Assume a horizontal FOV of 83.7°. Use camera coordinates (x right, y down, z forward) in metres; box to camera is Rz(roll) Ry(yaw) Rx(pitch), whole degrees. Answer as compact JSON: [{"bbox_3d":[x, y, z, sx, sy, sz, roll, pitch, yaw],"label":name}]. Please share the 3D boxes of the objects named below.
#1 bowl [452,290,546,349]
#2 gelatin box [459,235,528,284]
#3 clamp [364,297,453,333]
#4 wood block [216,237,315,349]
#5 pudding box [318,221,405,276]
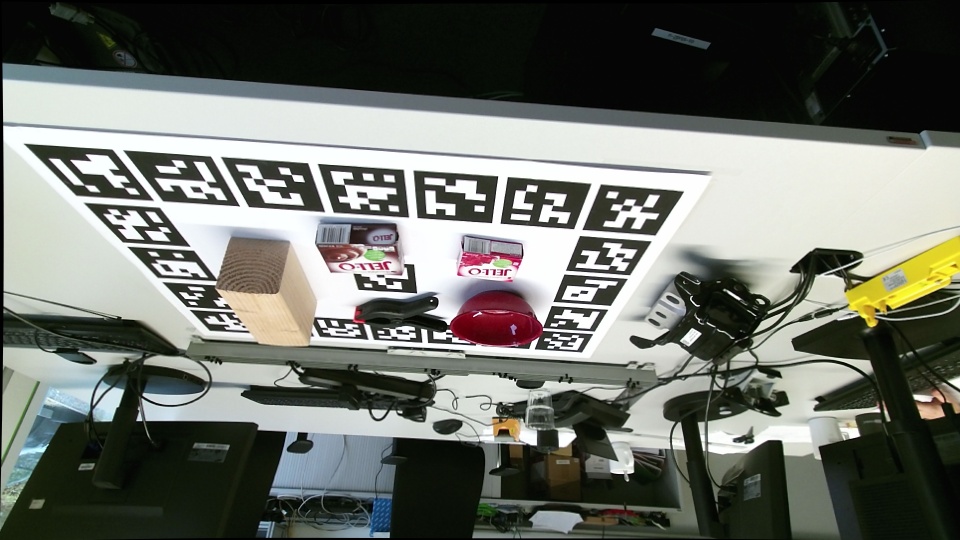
[{"bbox_3d":[0.034,0.082,0.937,0.162,0.055,0.162,2,145,2],"label":"bowl"},{"bbox_3d":[0.019,-0.014,0.793,0.090,0.030,0.073,8,146,-8],"label":"gelatin box"},{"bbox_3d":[-0.130,0.085,0.973,0.166,0.036,0.122,-1,148,9],"label":"clamp"},{"bbox_3d":[-0.334,0.044,0.856,0.090,0.090,0.206,6,148,-3],"label":"wood block"},{"bbox_3d":[-0.167,-0.029,0.776,0.114,0.038,0.090,1,144,-2],"label":"pudding box"}]
